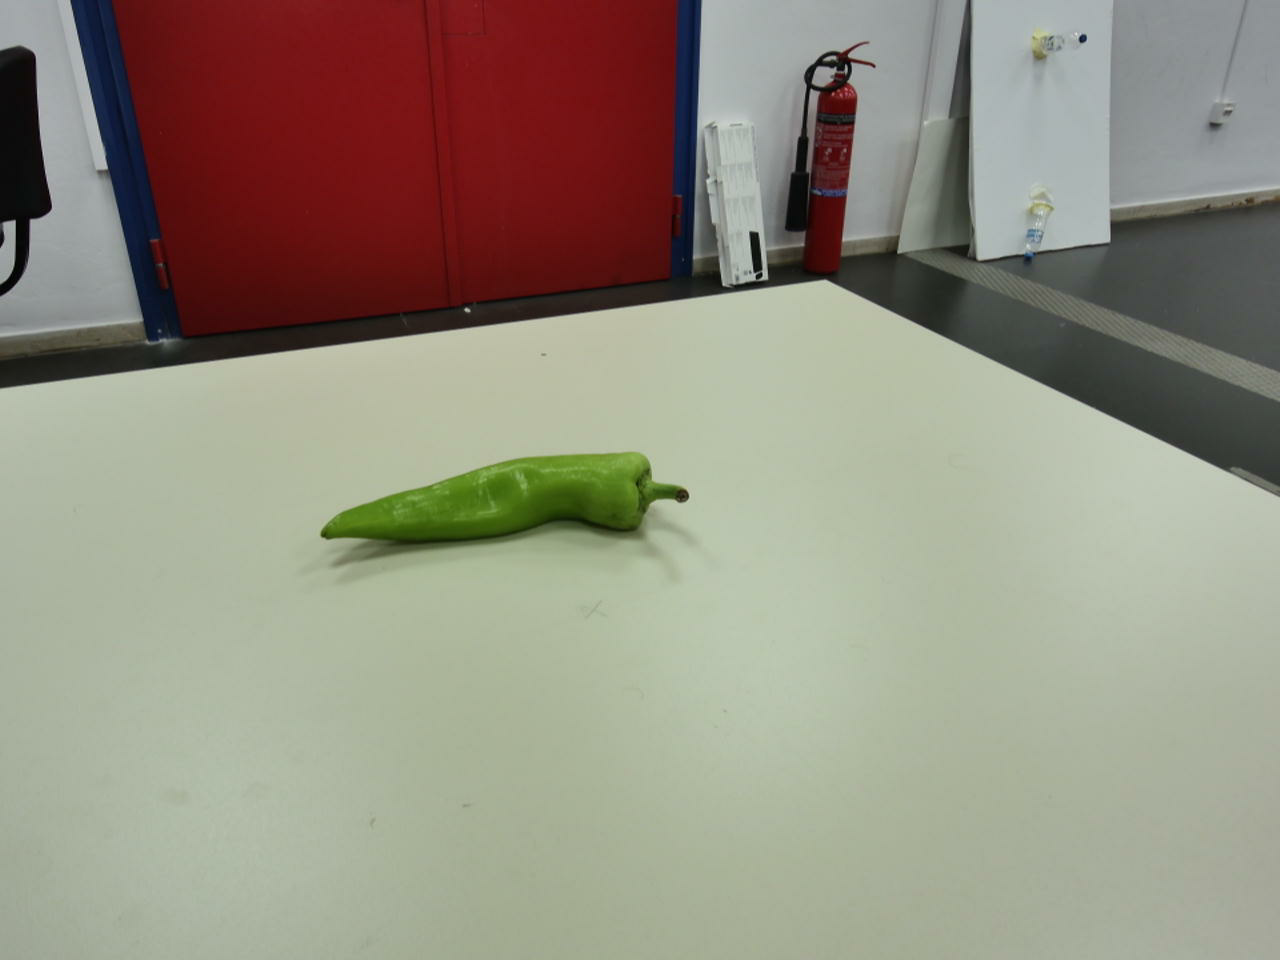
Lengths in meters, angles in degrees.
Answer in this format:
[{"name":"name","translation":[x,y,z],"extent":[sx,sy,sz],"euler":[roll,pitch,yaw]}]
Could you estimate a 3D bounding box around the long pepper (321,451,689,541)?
[{"name":"long pepper","translation":[-0.076,0.011,0.581],"extent":[0.204,0.045,0.065],"euler":[-4,27,-8]}]
